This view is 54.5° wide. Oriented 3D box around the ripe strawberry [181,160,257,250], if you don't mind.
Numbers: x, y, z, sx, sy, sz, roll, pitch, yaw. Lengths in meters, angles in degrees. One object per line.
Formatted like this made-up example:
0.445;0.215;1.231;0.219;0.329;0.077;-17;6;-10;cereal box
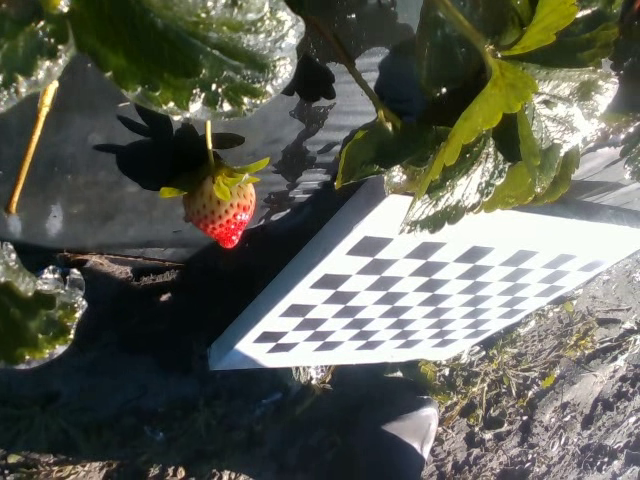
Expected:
-0.046;-0.015;0.296;0.039;0.053;0.041;-7;45;-14;ripe strawberry
